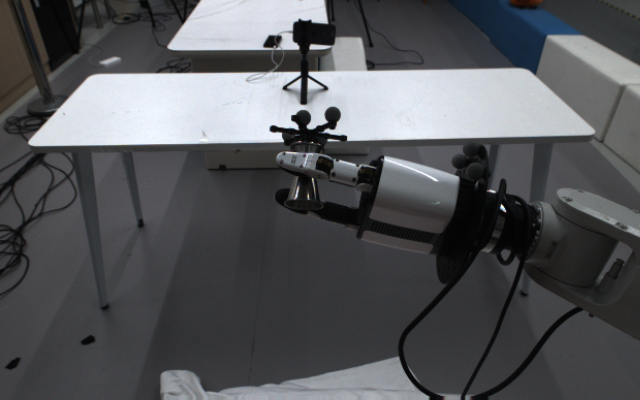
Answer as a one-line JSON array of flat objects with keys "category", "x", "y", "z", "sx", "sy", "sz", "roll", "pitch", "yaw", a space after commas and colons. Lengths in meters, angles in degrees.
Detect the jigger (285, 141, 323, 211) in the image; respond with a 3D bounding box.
[{"category": "jigger", "x": -0.017, "y": -0.027, "z": 0.543, "sx": 0.043, "sy": 0.043, "sz": 0.071, "roll": 3, "pitch": 75, "yaw": 1}]
